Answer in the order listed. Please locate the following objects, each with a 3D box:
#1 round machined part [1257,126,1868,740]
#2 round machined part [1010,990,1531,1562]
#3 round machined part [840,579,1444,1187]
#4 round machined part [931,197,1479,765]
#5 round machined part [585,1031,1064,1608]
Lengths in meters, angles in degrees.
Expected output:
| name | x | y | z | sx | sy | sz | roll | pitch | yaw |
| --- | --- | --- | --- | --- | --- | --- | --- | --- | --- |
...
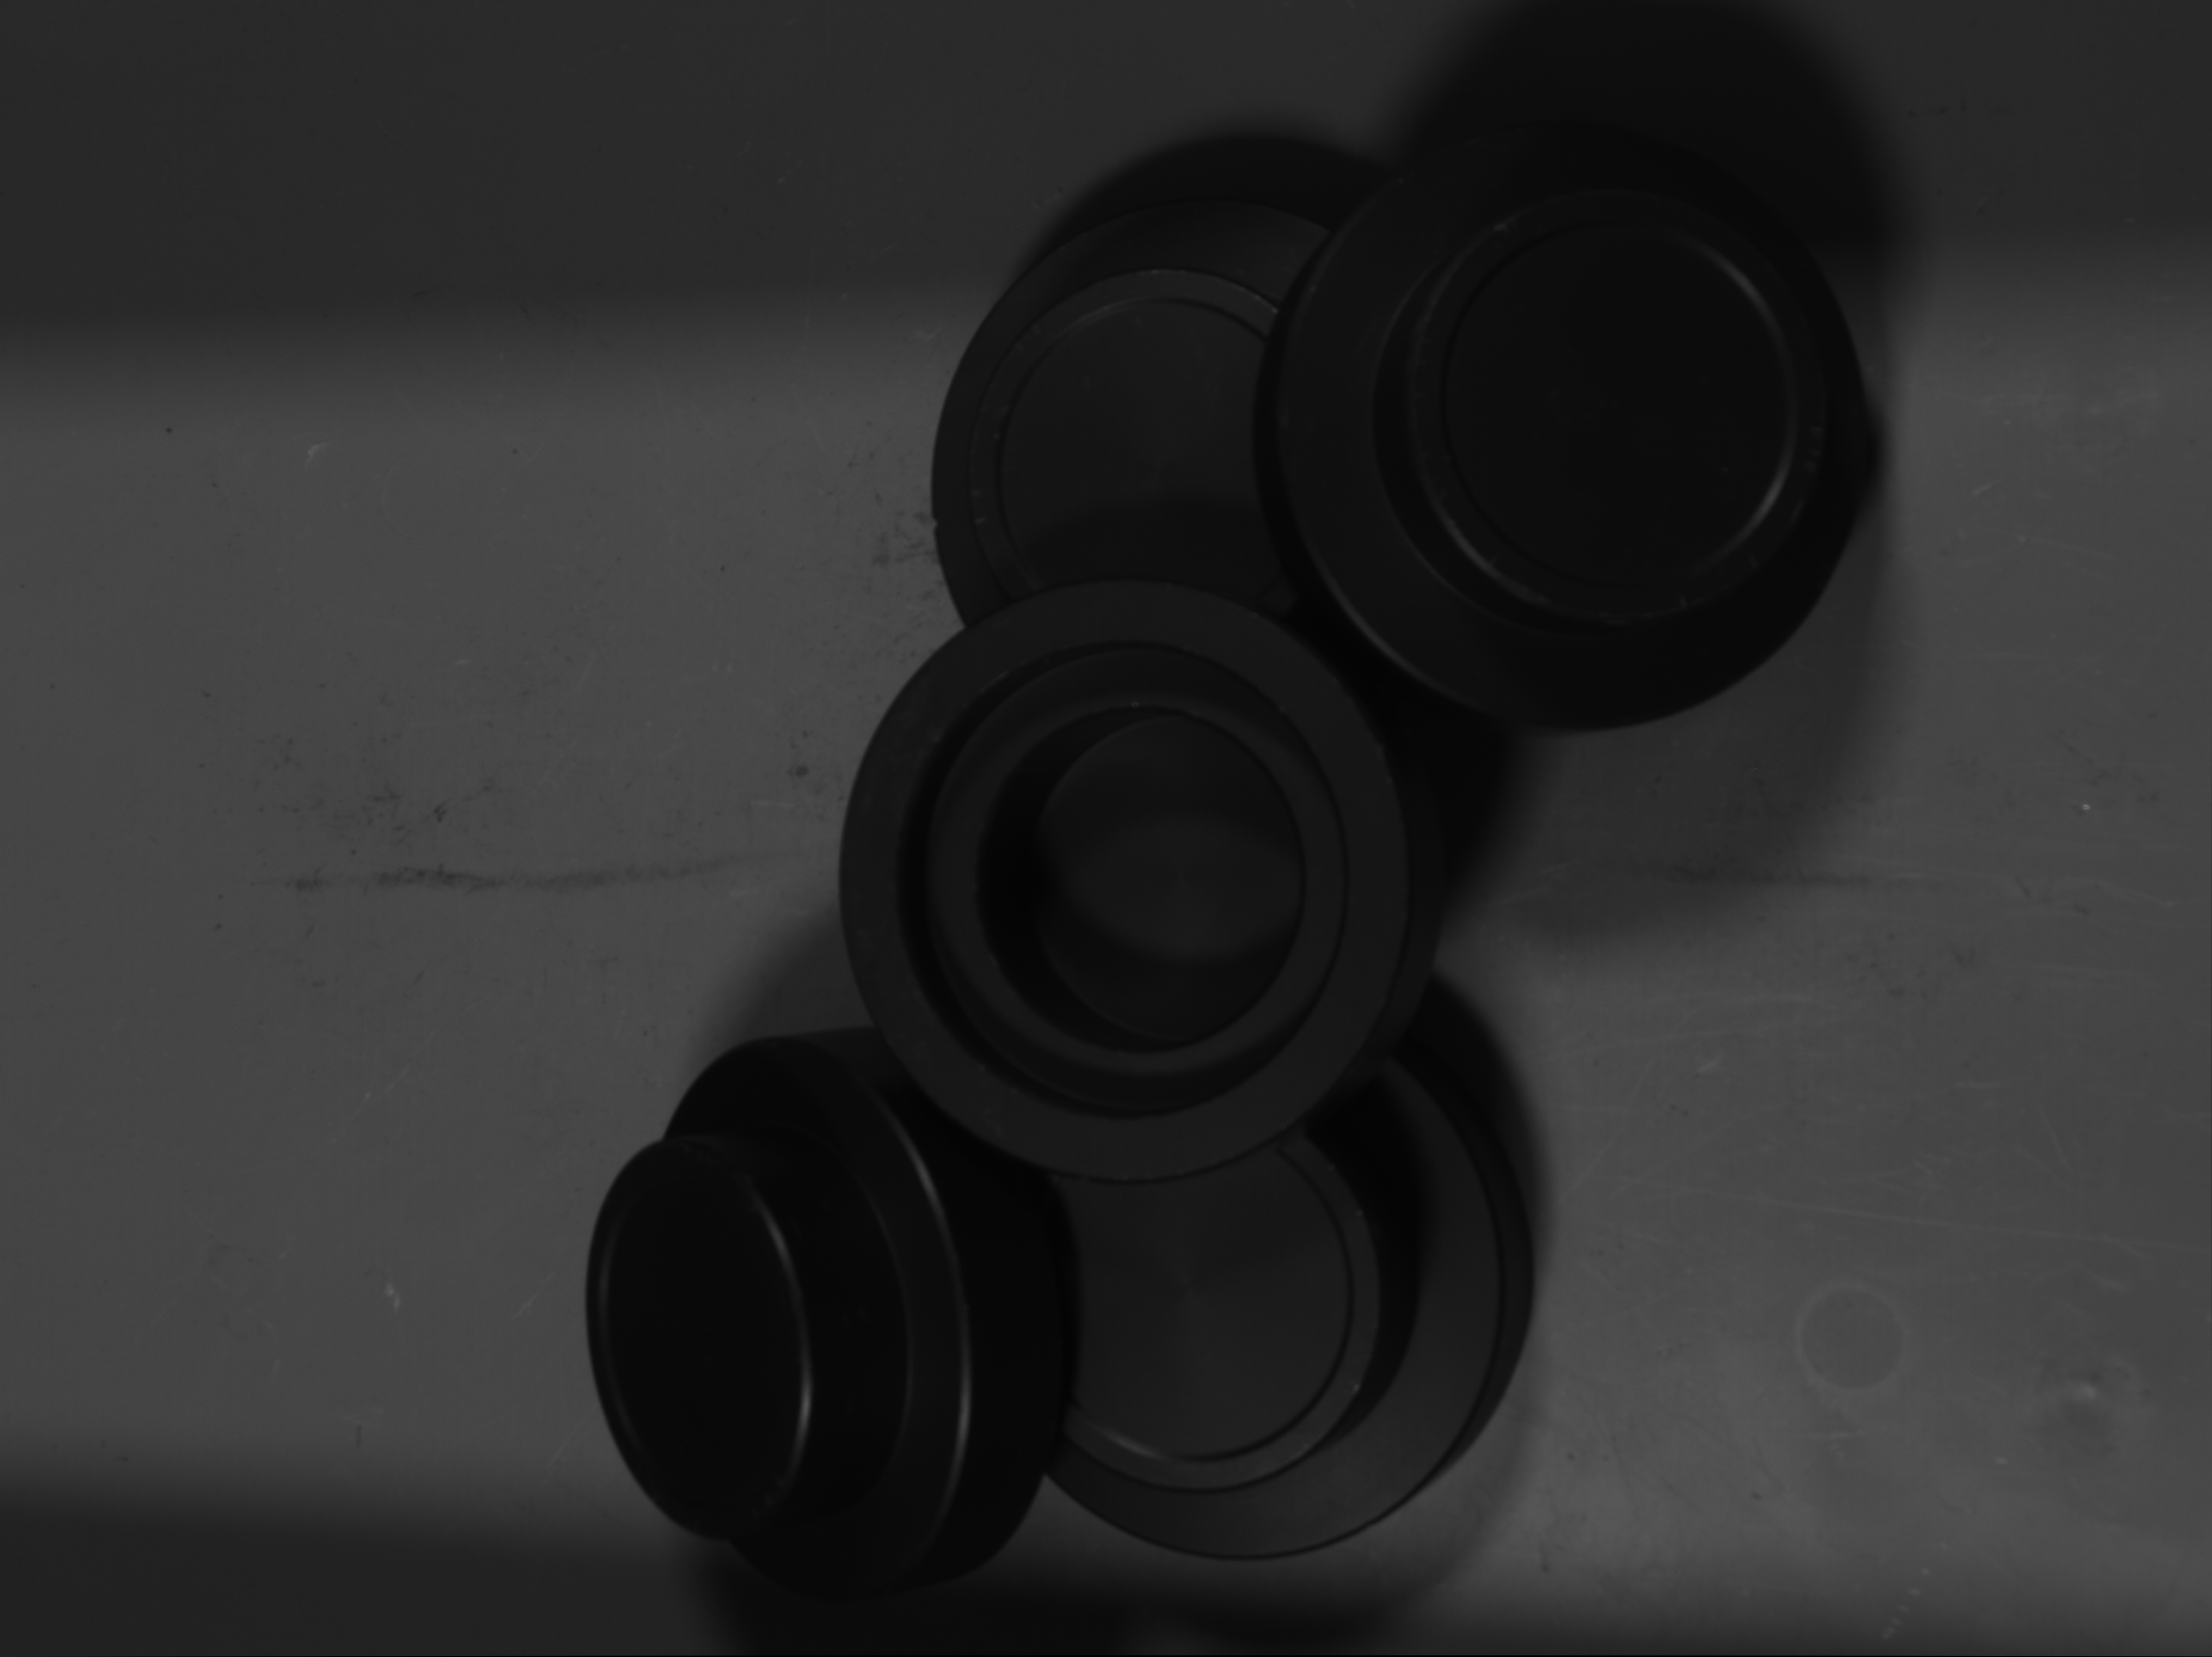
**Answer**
| name | x | y | z | sx | sy | sz | roll | pitch | yaw |
| --- | --- | --- | --- | --- | --- | --- | --- | --- | --- |
| round machined part | 0.076 | -0.064 | 0.585 | 0.098 | 0.042 | 0.098 | 1 | 87 | -11 |
| round machined part | 0.020 | 0.077 | 0.627 | 0.098 | 0.042 | 0.098 | 0 | 90 | 20 |
| round machined part | 0.009 | 0.009 | 0.608 | 0.098 | 0.042 | 0.098 | 0 | 90 | 20 |
| round machined part | 0.015 | -0.060 | 0.629 | 0.098 | 0.042 | 0.098 | 0 | 90 | 20 |
| round machined part | -0.054 | 0.085 | 0.631 | 0.098 | 0.042 | 0.098 | 6 | 98 | 49 |
